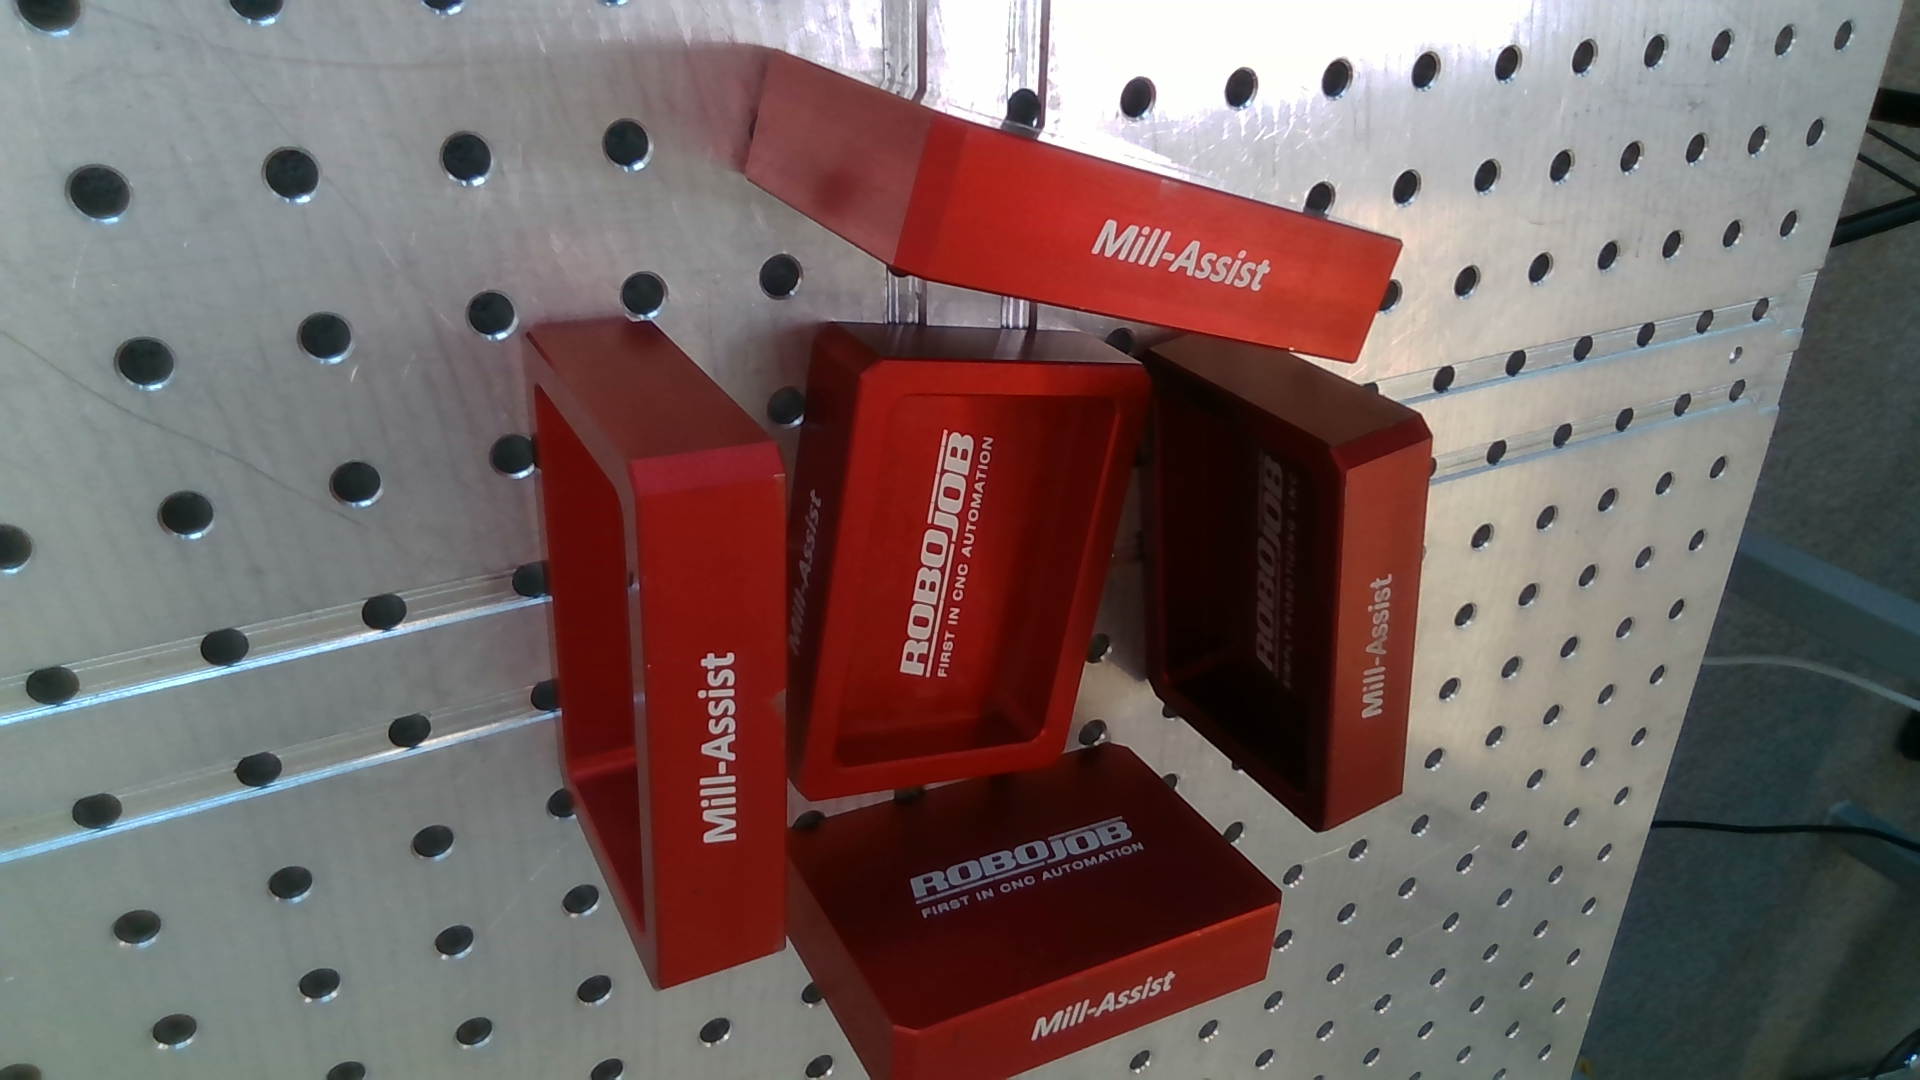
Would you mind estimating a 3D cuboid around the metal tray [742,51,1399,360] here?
[{"bbox_3d":[0.026,-0.078,0.324,0.130,0.090,0.030,4,112,-33],"label":"metal tray"}]

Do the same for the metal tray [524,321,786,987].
[{"bbox_3d":[-0.071,0.025,0.320,0.030,0.090,0.130,-11,120,-27],"label":"metal tray"}]

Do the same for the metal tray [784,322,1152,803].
[{"bbox_3d":[-0.003,0.007,0.390,0.090,0.030,0.130,-3,117,-30],"label":"metal tray"}]

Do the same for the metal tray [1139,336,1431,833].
[{"bbox_3d":[0.093,0.011,0.412,0.030,0.090,0.130,-20,124,-21],"label":"metal tray"}]

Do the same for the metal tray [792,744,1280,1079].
[{"bbox_3d":[0.019,0.112,0.422,0.130,0.090,0.030,-10,120,-27],"label":"metal tray"}]
